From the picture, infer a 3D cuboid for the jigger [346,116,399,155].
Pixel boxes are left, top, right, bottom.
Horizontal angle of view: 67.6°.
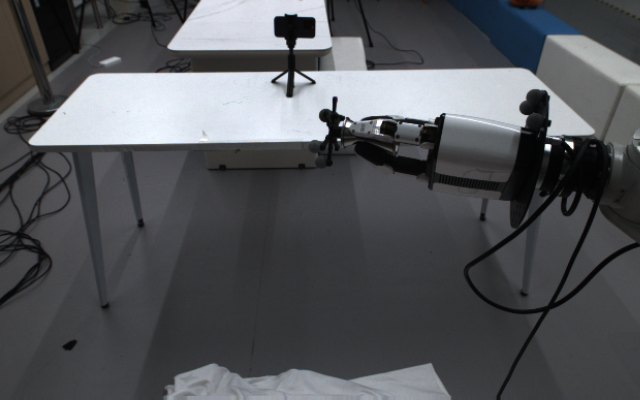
[{"bbox_3d":[0.070,-0.085,0.603,0.071,0.043,0.043,7,35,16],"label":"jigger"}]
